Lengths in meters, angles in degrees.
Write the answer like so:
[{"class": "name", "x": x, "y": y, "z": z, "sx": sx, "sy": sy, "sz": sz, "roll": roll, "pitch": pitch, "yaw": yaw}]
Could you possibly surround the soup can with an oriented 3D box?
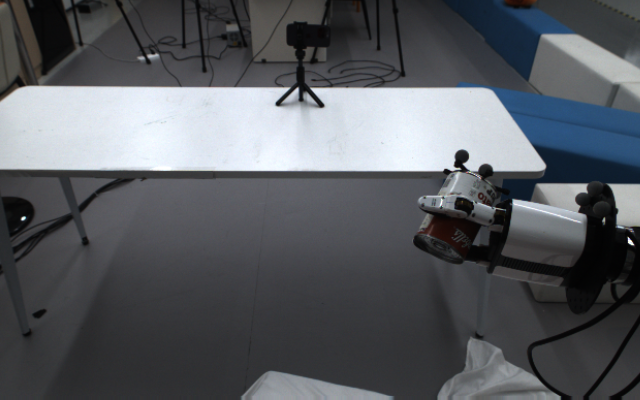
[{"class": "soup can", "x": 0.175, "y": 0.021, "z": 0.614, "sx": 0.067, "sy": 0.067, "sz": 0.101, "roll": 23, "pitch": 72, "yaw": 27}]
